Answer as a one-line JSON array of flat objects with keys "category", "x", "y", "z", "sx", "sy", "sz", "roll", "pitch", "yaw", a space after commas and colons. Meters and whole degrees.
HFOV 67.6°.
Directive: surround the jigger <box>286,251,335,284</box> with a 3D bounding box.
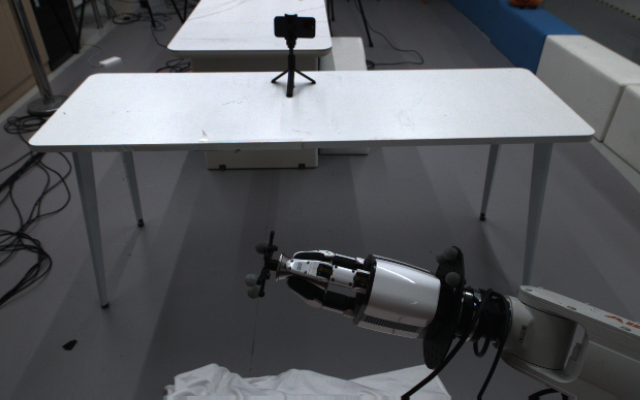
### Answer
[{"category": "jigger", "x": -0.013, "y": 0.090, "z": 0.637, "sx": 0.071, "sy": 0.043, "sz": 0.043, "roll": 11, "pitch": 35, "yaw": 3}]
